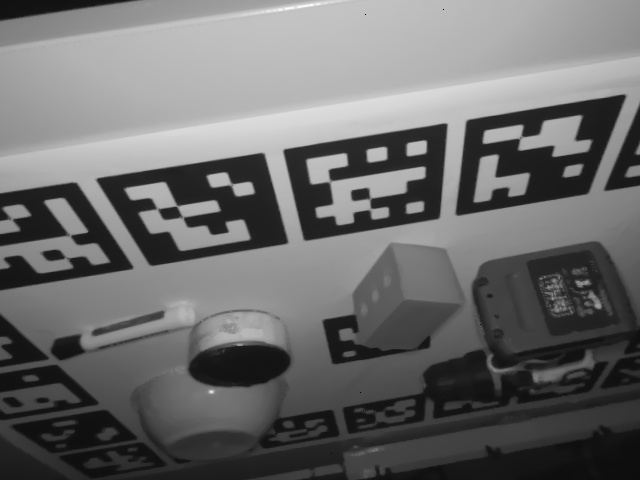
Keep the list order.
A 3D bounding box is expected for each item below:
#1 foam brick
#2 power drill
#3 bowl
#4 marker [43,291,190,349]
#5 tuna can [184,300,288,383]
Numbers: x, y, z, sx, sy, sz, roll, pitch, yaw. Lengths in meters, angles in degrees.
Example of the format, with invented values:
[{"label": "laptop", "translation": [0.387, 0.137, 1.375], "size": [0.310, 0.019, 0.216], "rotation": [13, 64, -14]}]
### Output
[{"label": "foam brick", "translation": [0.065, 0.028, 0.537], "size": [0.052, 0.053, 0.077], "rotation": [7, 138, -17]}, {"label": "power drill", "translation": [0.193, 0.081, 0.623], "size": [0.184, 0.058, 0.186], "rotation": [-8, 145, 4]}, {"label": "bowl", "translation": [-0.105, 0.172, 0.687], "size": [0.162, 0.055, 0.160], "rotation": [-10, 149, -5]}, {"label": "marker", "translation": [-0.162, 0.064, 0.548], "size": [0.120, 0.020, 0.019], "rotation": [-15, 140, 8]}, {"label": "tuna can", "translation": [-0.071, 0.087, 0.586], "size": [0.086, 0.034, 0.085], "rotation": [-4, 142, -3]}]
